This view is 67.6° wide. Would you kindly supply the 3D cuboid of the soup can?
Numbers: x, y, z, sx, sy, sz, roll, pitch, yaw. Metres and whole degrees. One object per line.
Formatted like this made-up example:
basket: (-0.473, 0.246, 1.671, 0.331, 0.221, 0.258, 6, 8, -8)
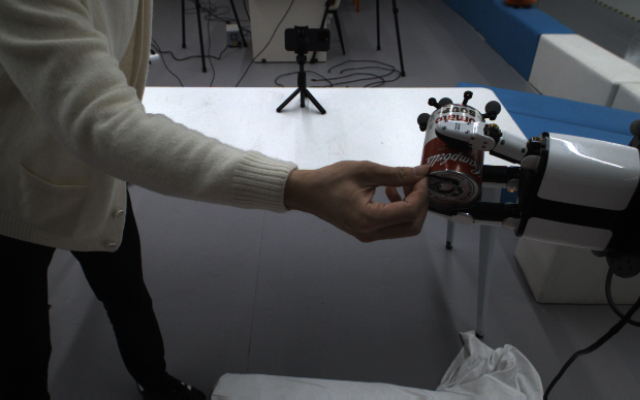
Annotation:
soup can: (0.149, -0.053, 0.534, 0.067, 0.067, 0.101, 9, 55, 10)
